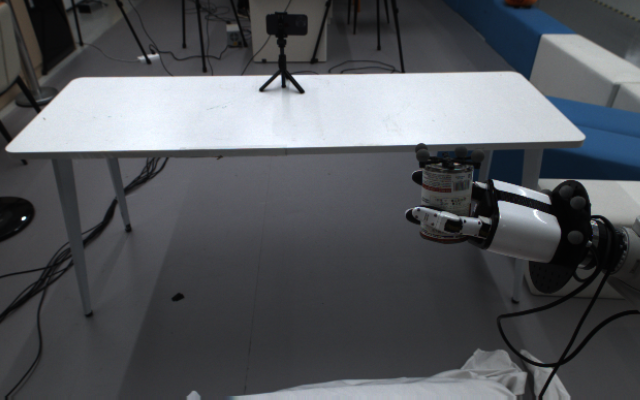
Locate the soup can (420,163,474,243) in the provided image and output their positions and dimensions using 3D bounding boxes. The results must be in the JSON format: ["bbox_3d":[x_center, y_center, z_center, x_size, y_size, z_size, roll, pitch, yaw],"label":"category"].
[{"bbox_3d":[0.174,0.000,0.659,0.067,0.101,0.067,-1,17,0],"label":"soup can"}]
